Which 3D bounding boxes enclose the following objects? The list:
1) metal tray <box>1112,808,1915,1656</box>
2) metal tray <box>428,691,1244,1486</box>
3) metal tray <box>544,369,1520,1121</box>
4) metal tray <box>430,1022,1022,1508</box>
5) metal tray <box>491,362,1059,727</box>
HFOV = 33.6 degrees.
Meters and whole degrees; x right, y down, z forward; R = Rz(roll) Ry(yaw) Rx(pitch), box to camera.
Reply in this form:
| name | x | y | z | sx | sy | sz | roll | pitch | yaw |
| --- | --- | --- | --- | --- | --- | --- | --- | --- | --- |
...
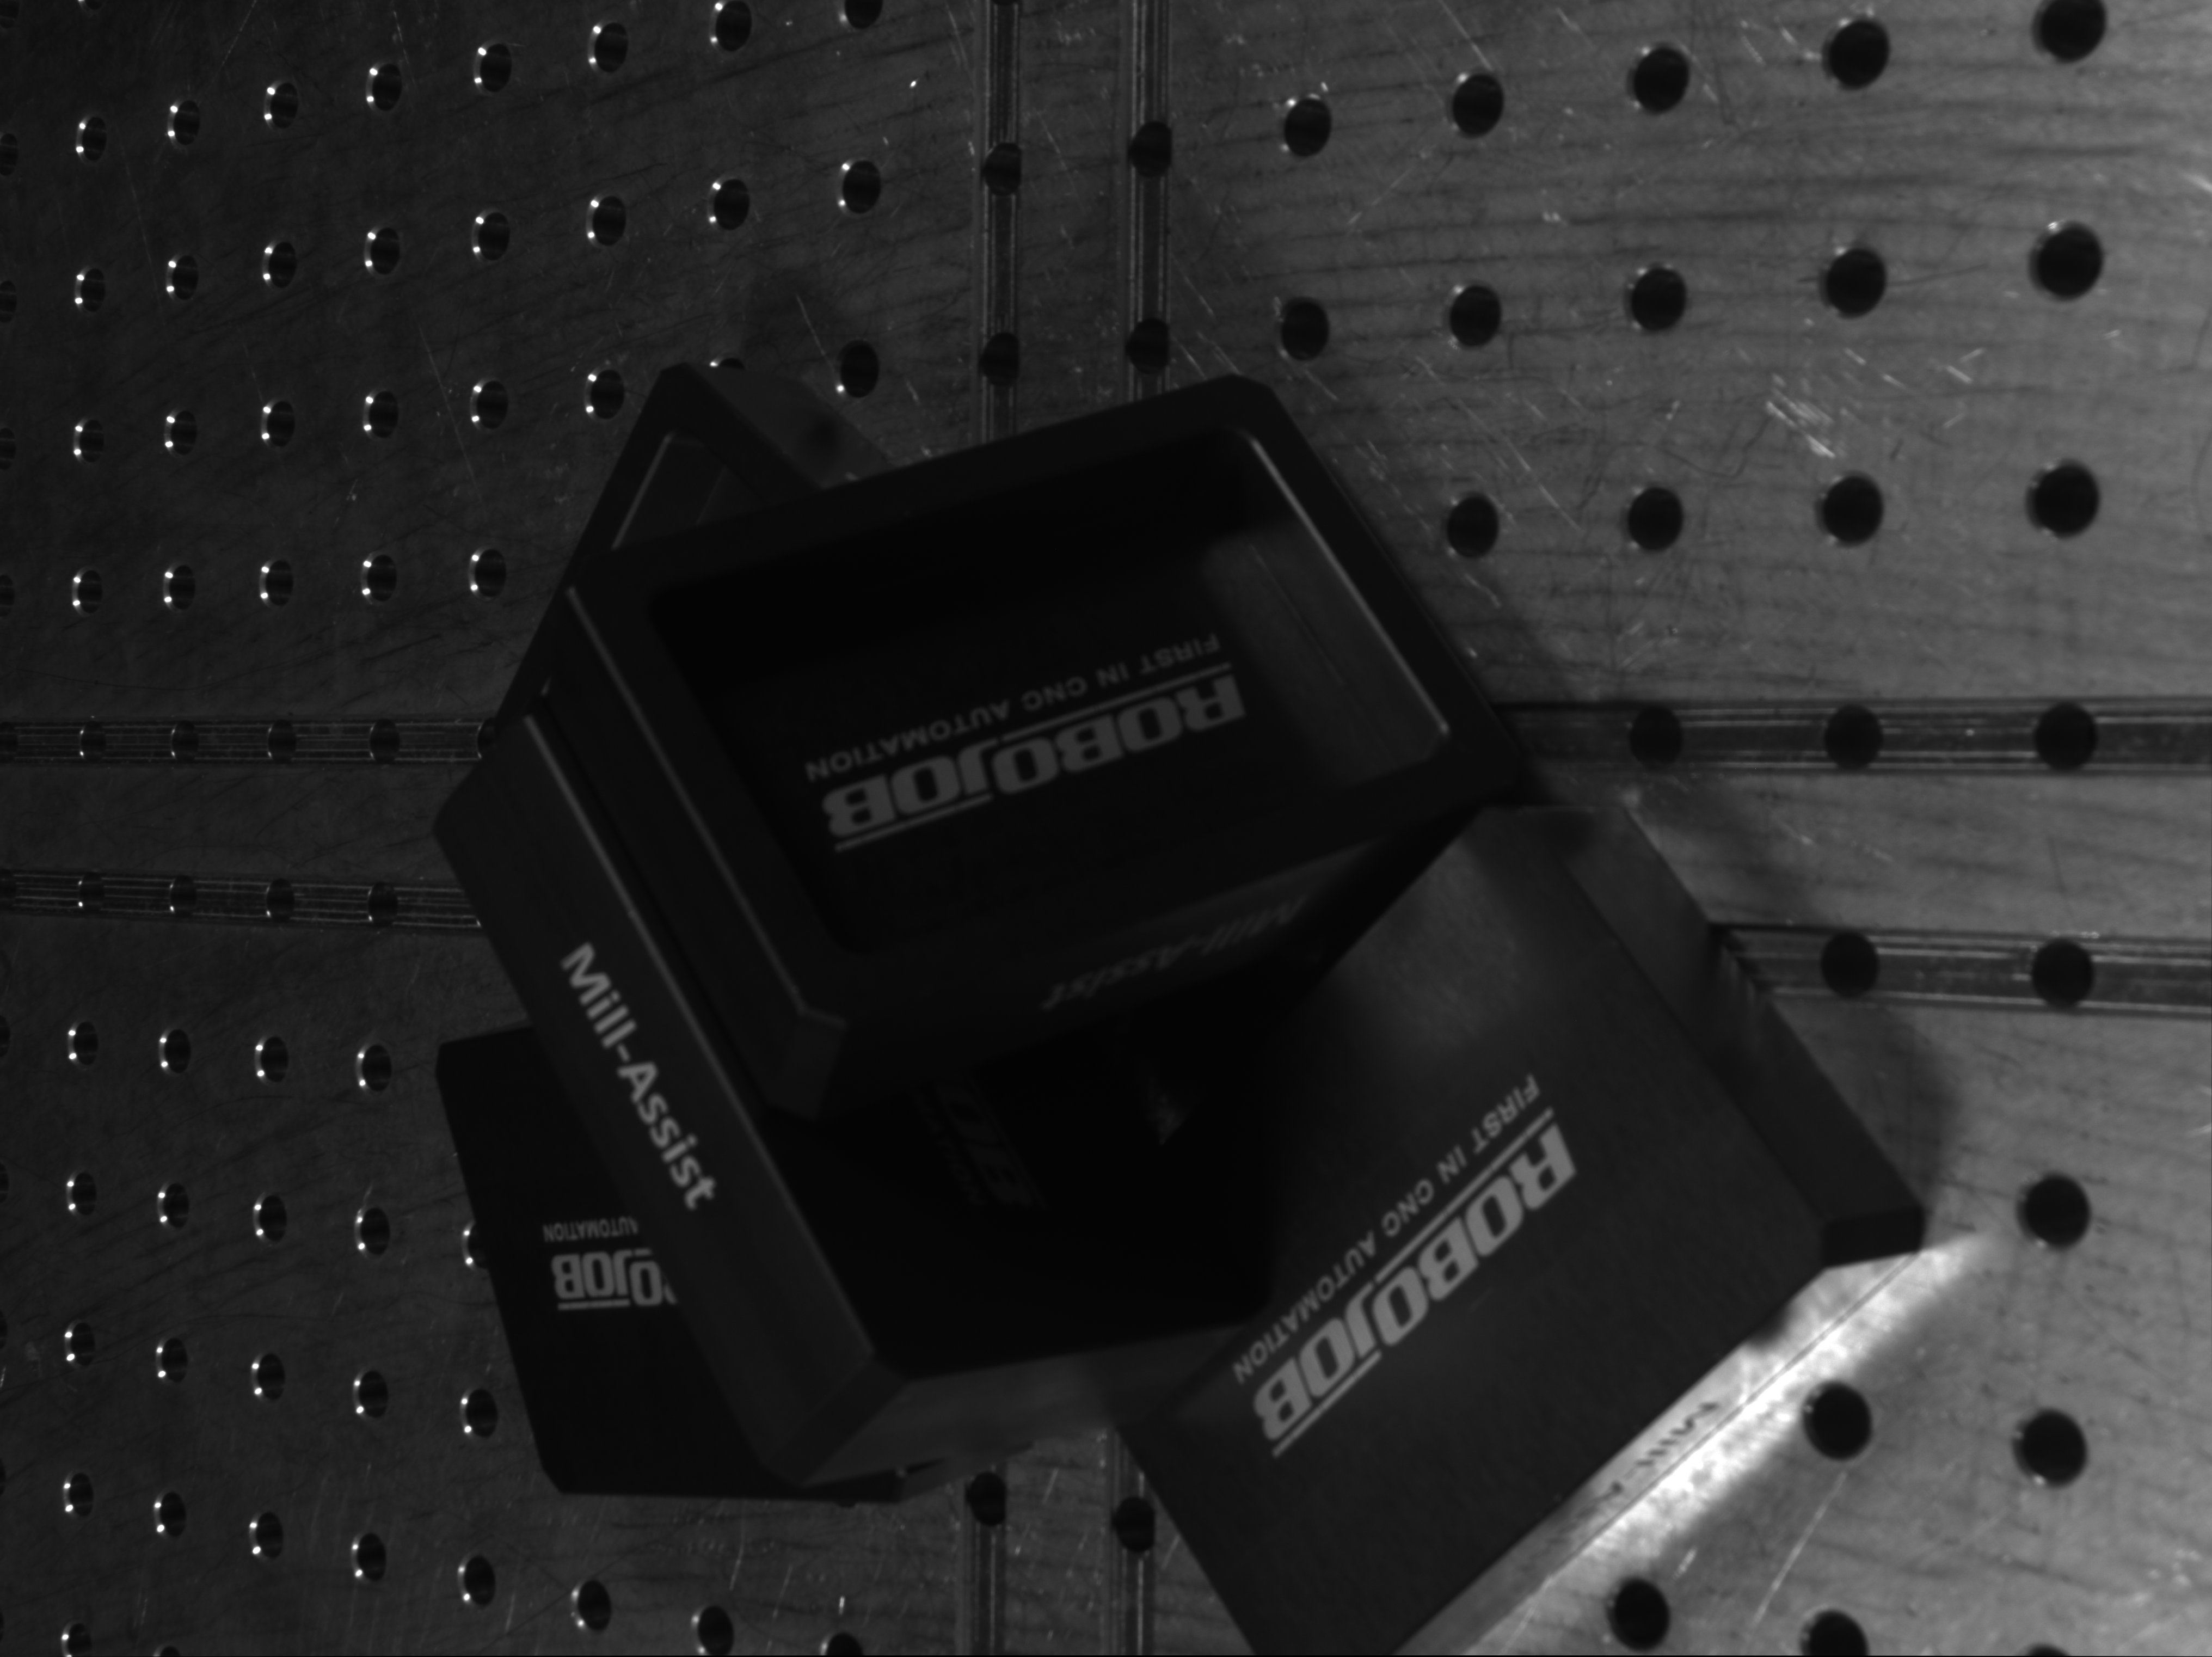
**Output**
| name | x | y | z | sx | sy | sz | roll | pitch | yaw |
| --- | --- | --- | --- | --- | --- | --- | --- | --- | --- |
| metal tray | 0.055 | 0.070 | 0.589 | 0.130 | 0.030 | 0.090 | -49 | 62 | 28 |
| metal tray | -0.043 | 0.038 | 0.593 | 0.030 | 0.090 | 0.130 | -45 | 63 | 30 |
| metal tray | -0.011 | -0.017 | 0.581 | 0.090 | 0.130 | 0.030 | 58 | 151 | 23 |
| metal tray | -0.072 | 0.074 | 0.664 | 0.130 | 0.030 | 0.090 | -13 | 92 | 53 |
| metal tray | -0.053 | -0.015 | 0.679 | 0.130 | 0.030 | 0.090 | 43 | 116 | 31 |
